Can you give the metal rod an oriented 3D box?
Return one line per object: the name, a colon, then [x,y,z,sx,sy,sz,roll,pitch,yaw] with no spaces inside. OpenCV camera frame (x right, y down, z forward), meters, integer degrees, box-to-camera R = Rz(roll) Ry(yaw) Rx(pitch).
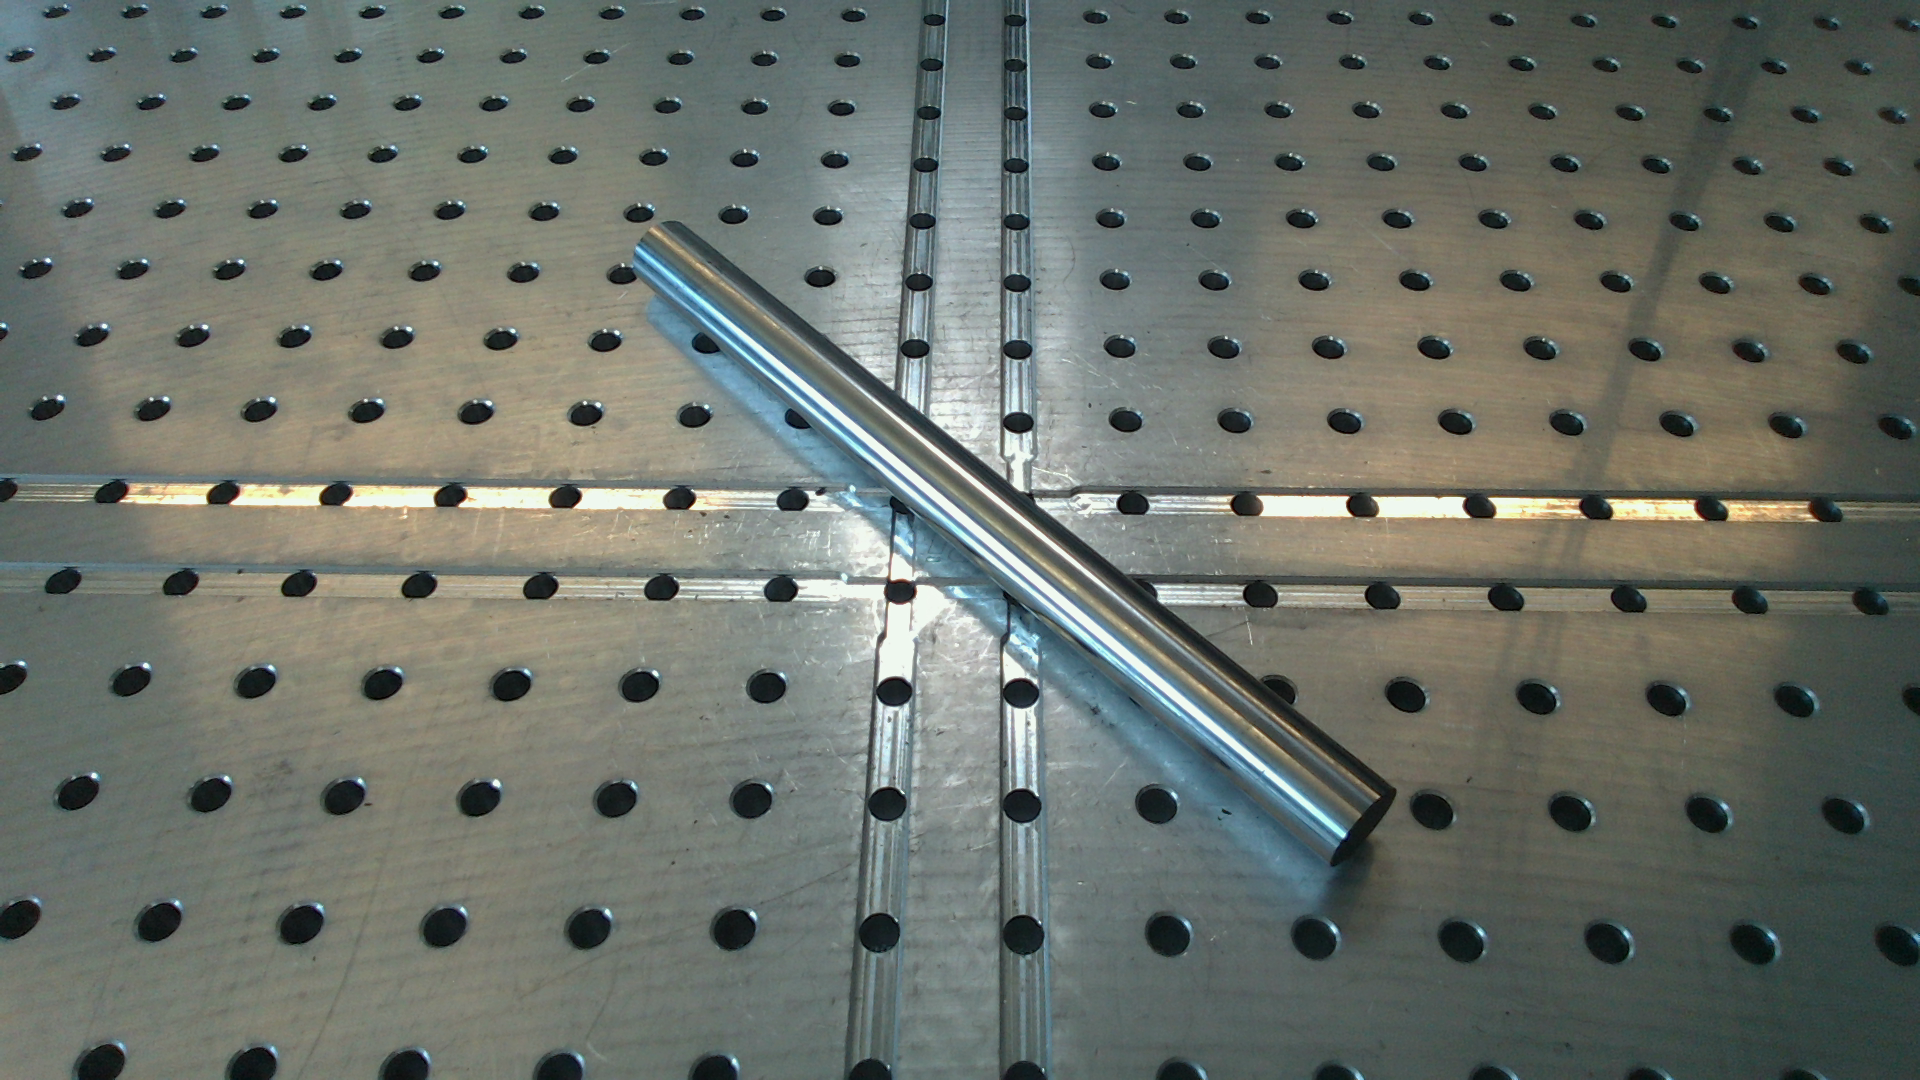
metal rod: [-0.003,-0.015,0.407,0.025,0.025,0.299,-35,58,-26]
